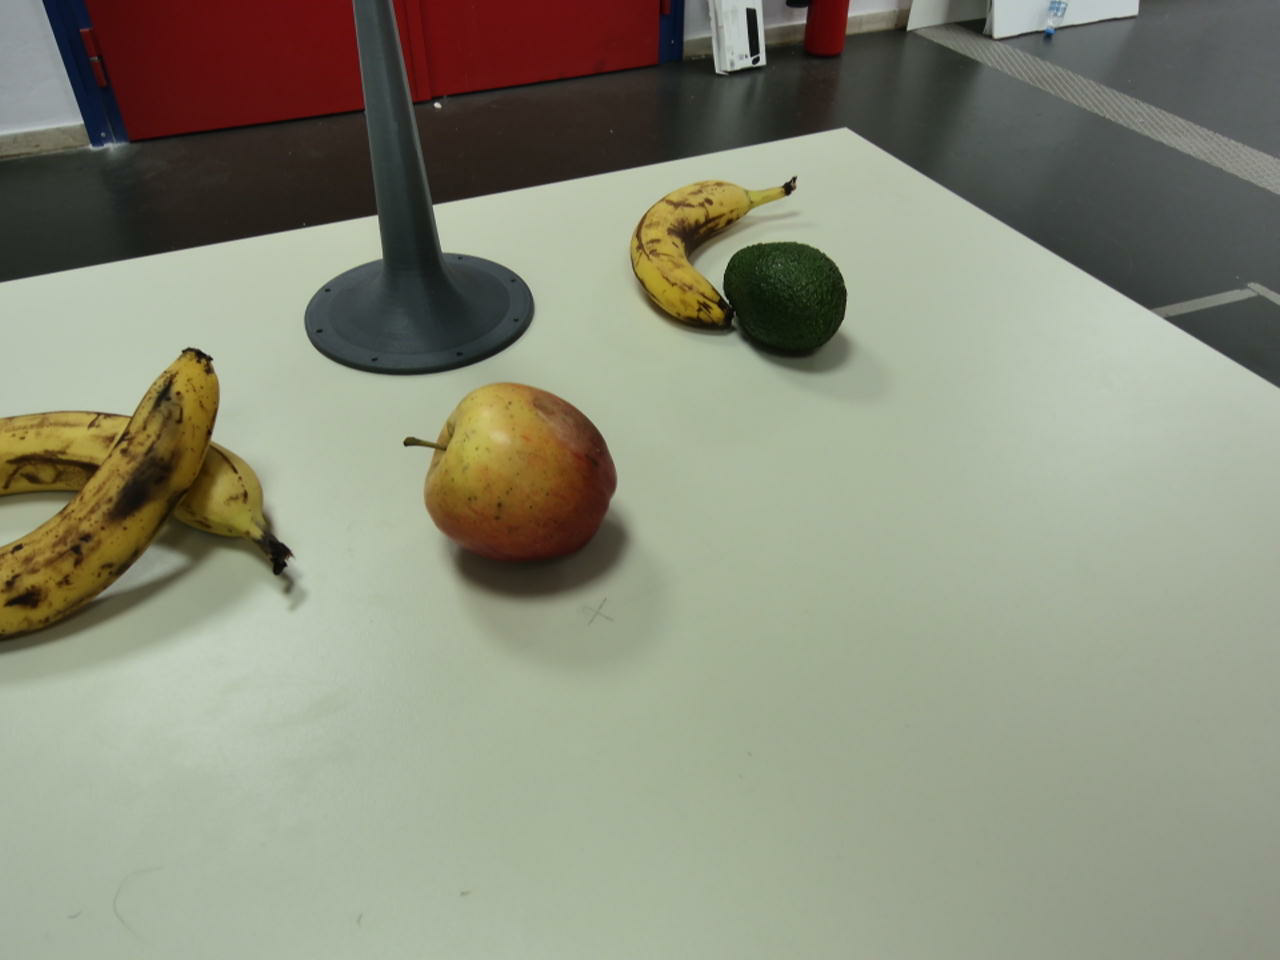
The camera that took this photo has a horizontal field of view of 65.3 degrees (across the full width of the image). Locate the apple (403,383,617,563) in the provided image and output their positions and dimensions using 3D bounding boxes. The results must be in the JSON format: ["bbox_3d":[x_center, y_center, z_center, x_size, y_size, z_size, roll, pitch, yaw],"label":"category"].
[{"bbox_3d":[-0.059,-0.003,0.477,0.093,0.084,0.086,20,42,22],"label":"apple"}]
